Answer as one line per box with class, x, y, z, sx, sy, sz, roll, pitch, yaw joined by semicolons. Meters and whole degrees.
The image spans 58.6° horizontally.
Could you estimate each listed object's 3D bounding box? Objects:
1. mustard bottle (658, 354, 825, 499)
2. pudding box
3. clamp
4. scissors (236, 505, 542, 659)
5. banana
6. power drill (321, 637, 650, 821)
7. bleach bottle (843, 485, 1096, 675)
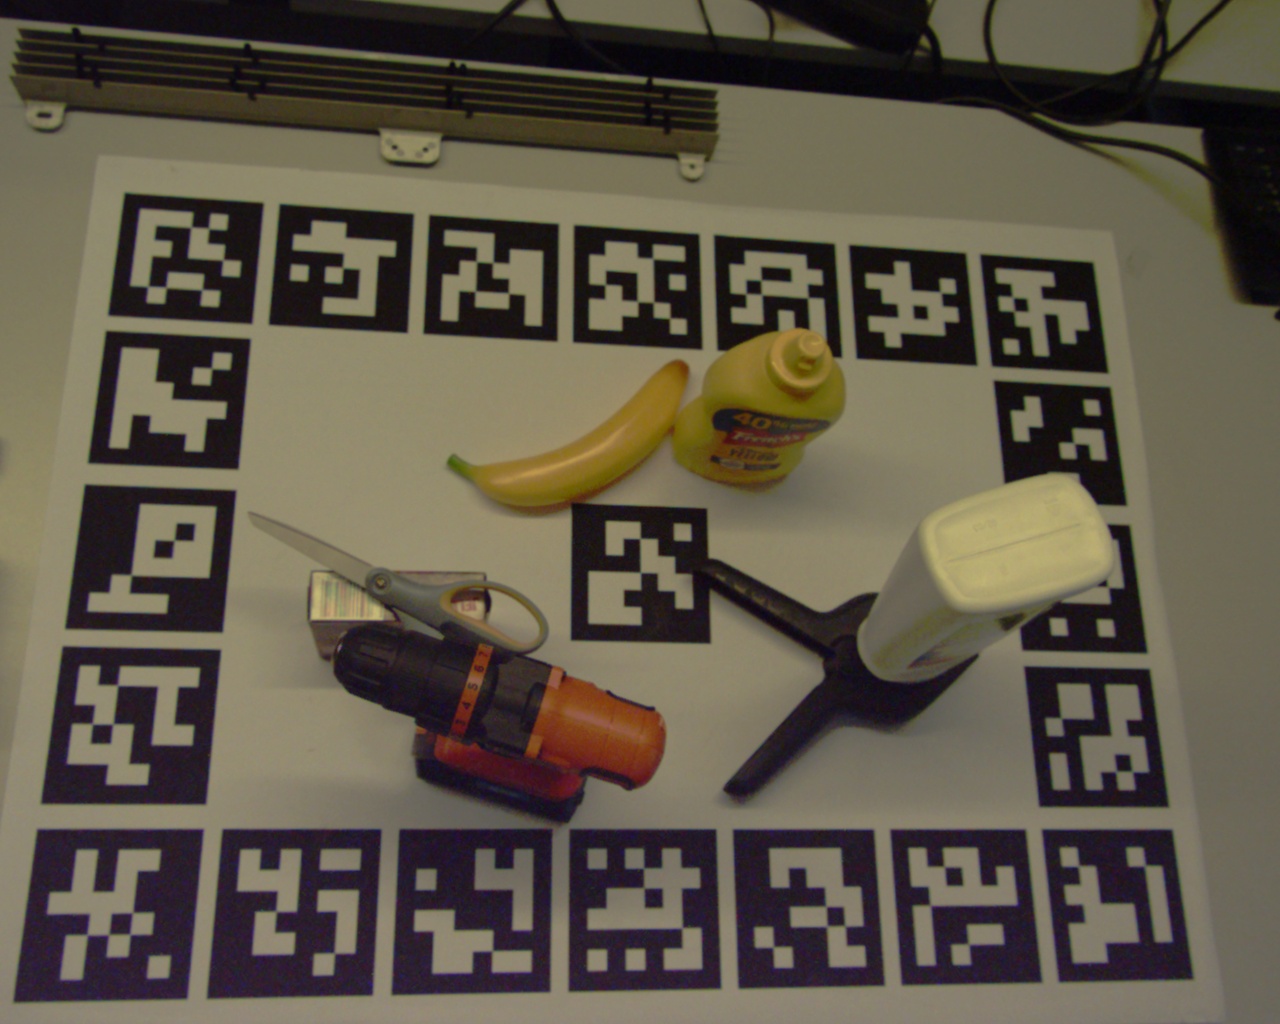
mustard bottle;0.078;-0.064;0.810;0.096;0.192;0.058;16;71;-6
pudding box;-0.167;0.072;0.779;0.113;0.090;0.039;6;66;-8
clamp;0.142;0.104;0.830;0.201;0.037;0.166;-4;76;-12
scissors;-0.165;0.047;0.719;0.202;0.016;0.087;27;75;-5
banana;-0.040;-0.064;0.860;0.196;0.038;0.075;-38;66;-17
power drill;-0.095;0.133;0.691;0.184;0.187;0.057;14;65;-2
bleach bottle;0.194;0.061;0.740;0.102;0.250;0.068;-18;74;-7
